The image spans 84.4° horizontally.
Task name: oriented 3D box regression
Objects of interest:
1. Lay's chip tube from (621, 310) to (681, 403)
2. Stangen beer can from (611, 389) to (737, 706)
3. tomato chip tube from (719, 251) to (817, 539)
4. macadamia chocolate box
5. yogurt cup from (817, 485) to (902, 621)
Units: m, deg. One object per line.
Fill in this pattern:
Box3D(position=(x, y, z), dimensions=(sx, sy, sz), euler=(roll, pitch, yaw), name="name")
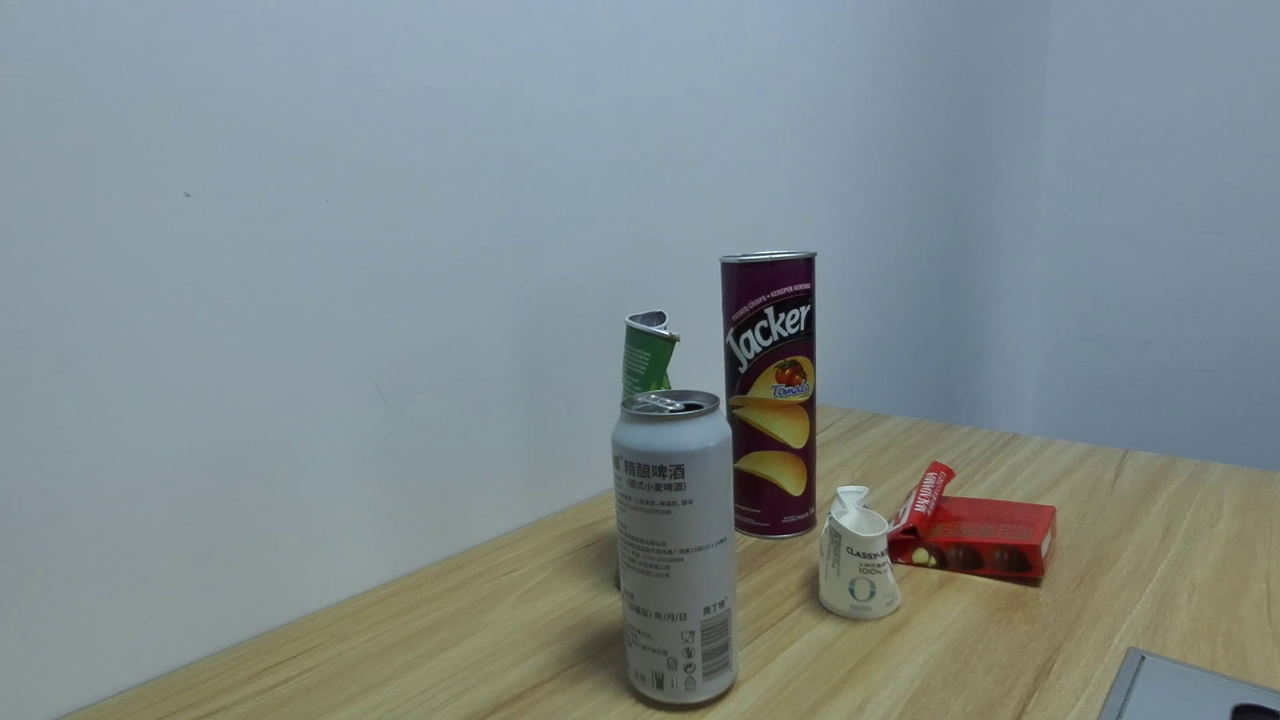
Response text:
Box3D(position=(0.011, 0.066, 0.516), dimensions=(0.069, 0.201, 0.077), euler=(-11, 18, -29), name="Lay's chip tube")
Box3D(position=(0.020, 0.105, 0.400), dimensions=(0.067, 0.171, 0.067), euler=(-3, 11, 1), name="Stangen beer can")
Box3D(position=(0.112, 0.028, 0.602), dimensions=(0.080, 0.234, 0.077), euler=(-1, 11, 12), name="tomato chip tube")
Box3D(position=(0.252, 0.133, 0.554), dimensions=(0.126, 0.056, 0.112), euler=(8, 31, 36), name="macadamia chocolate box")
Box3D(position=(0.149, 0.131, 0.481), dimensions=(0.054, 0.071, 0.075), euler=(-7, 12, -18), name="yogurt cup")
